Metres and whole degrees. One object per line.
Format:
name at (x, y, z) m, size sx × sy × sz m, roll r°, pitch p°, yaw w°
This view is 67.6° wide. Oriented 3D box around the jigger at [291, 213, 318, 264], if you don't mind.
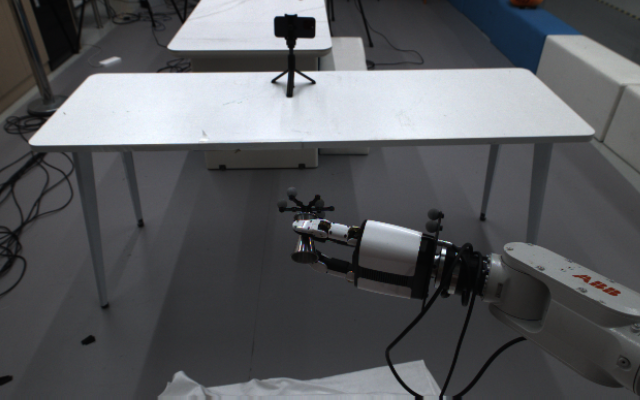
jigger at (-0.023, 0.055, 0.743) m, size 0.043 × 0.043 × 0.071 m, roll 2°, pitch 59°, yaw -1°
